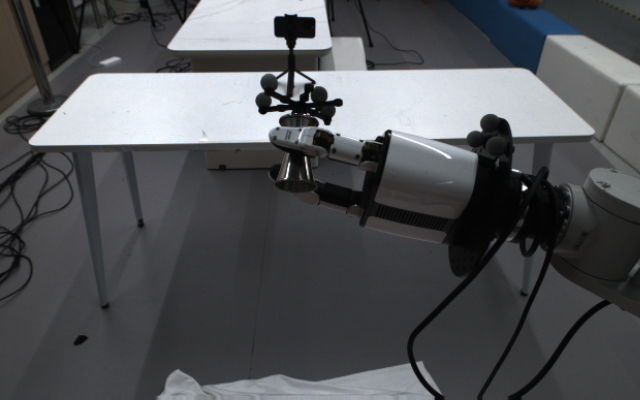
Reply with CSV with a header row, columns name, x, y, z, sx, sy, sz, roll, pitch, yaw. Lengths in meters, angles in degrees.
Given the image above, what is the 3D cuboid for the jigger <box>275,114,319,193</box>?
name,x,y,z,sx,sy,sz,roll,pitch,yaw
jigger,-0.023,-0.046,0.478,0.043,0.043,0.071,2,76,1
